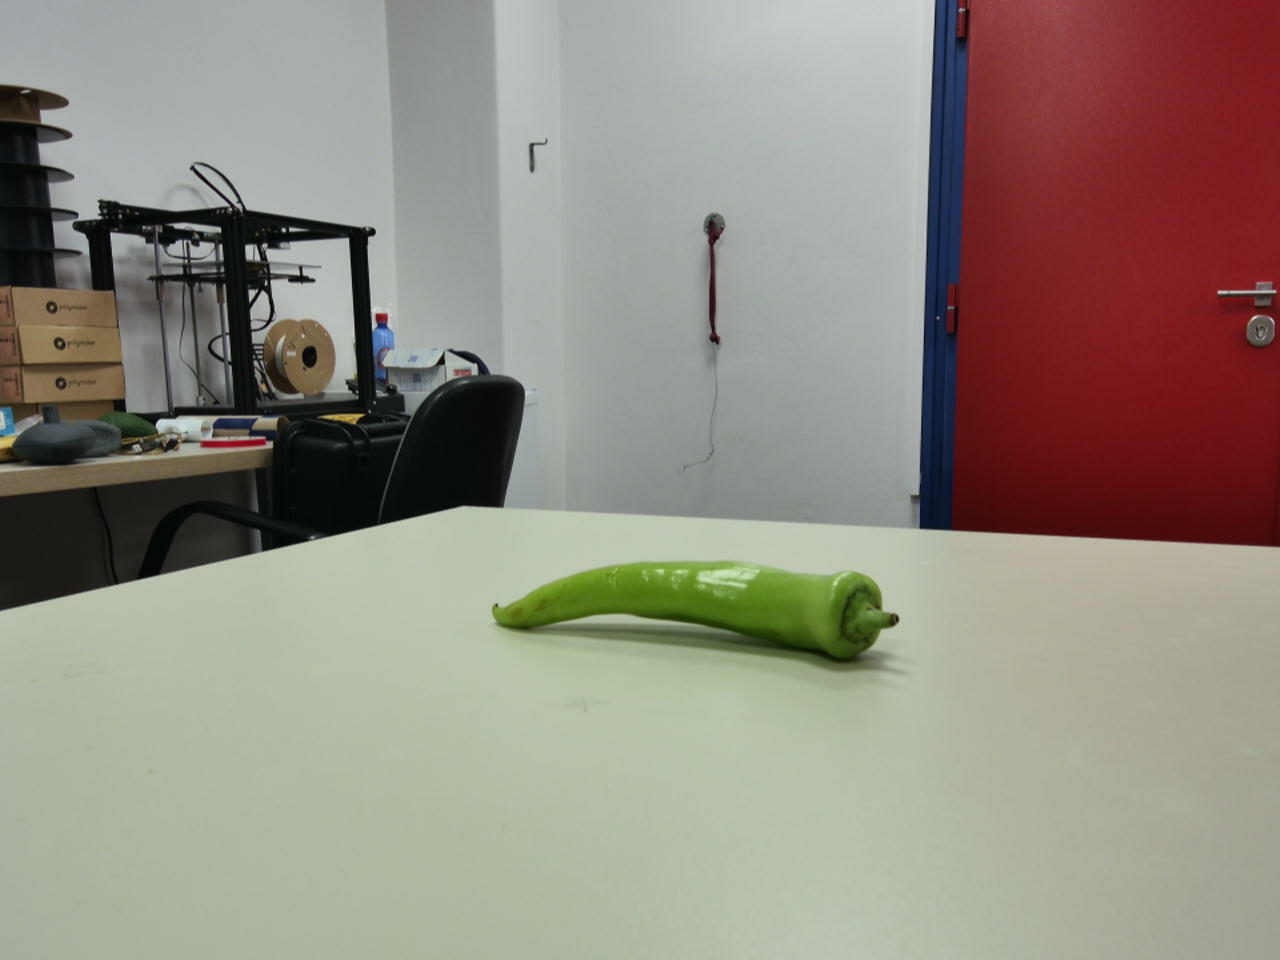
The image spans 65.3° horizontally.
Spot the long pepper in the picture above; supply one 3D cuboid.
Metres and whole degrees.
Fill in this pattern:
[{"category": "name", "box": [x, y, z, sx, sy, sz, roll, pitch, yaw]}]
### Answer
[{"category": "long pepper", "box": [0.021, 0.053, 0.450, 0.197, 0.038, 0.046, 2, 4, 27]}]
